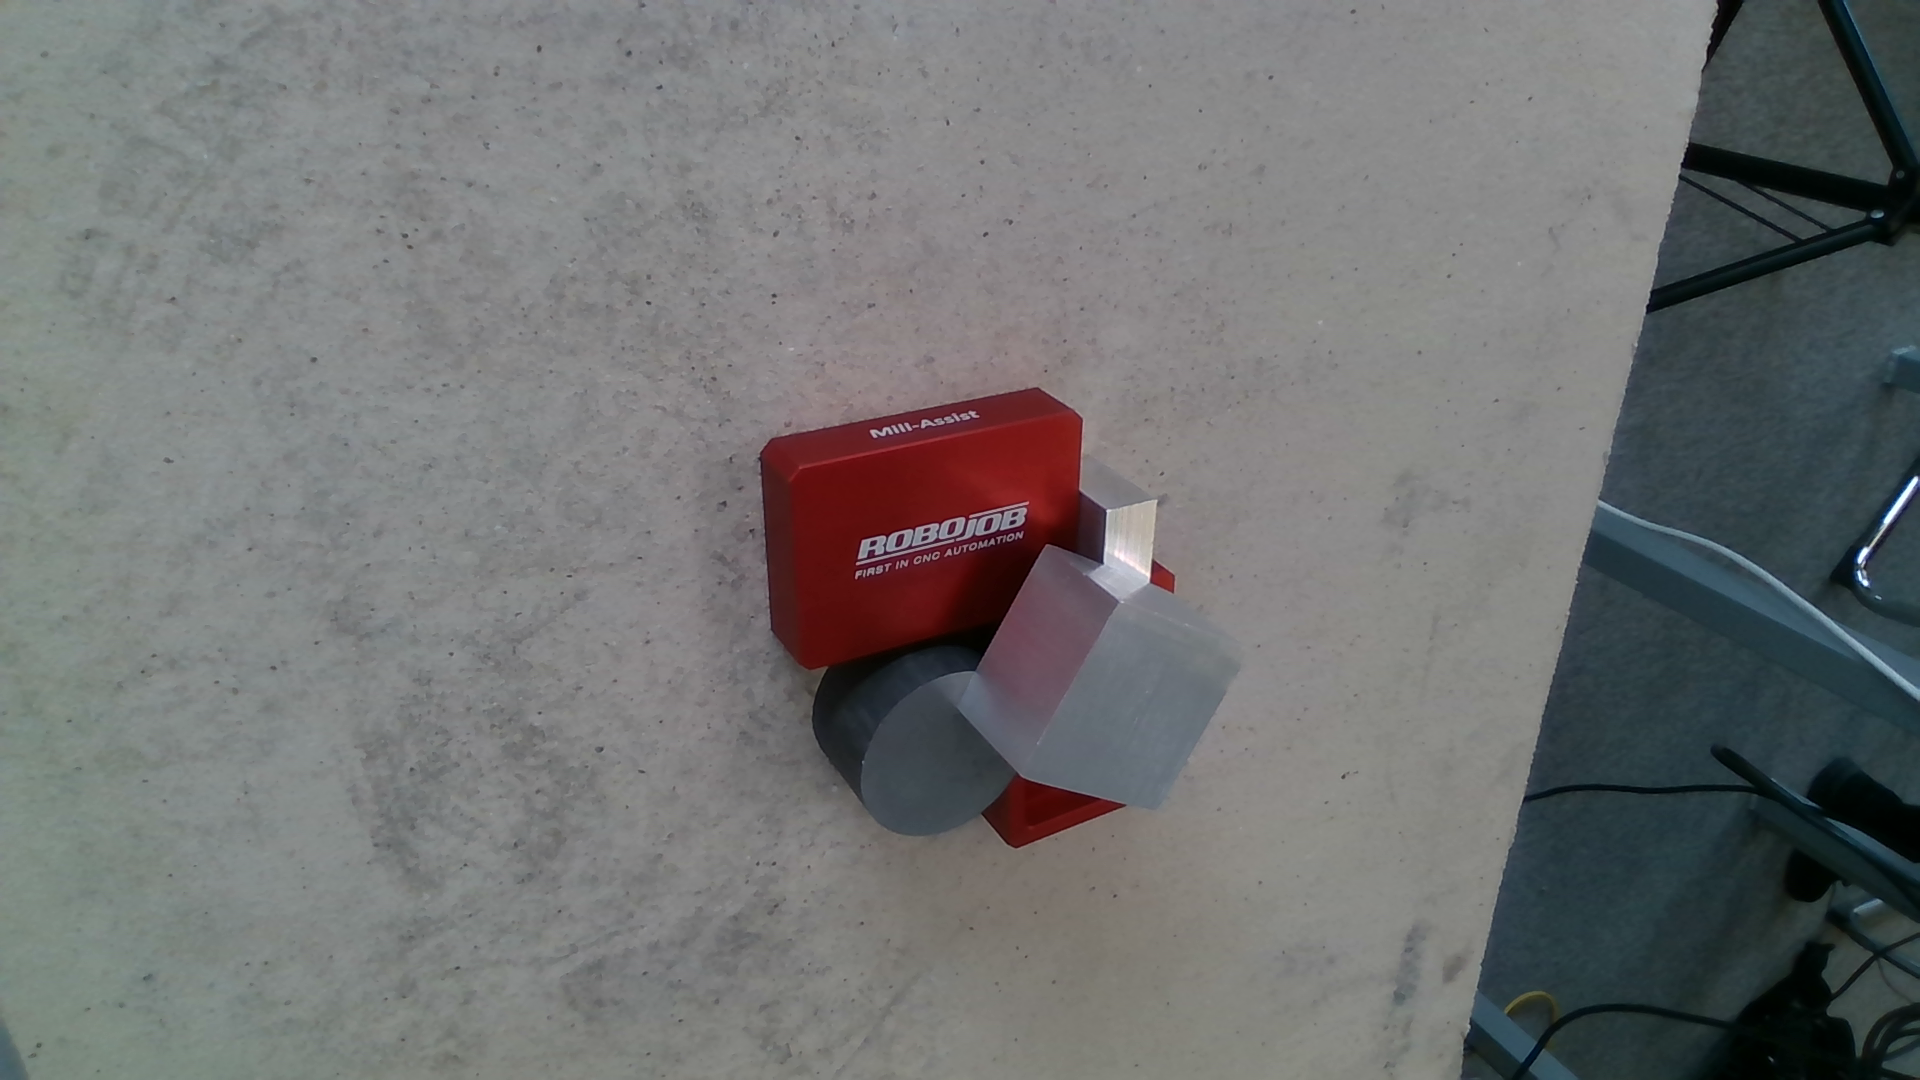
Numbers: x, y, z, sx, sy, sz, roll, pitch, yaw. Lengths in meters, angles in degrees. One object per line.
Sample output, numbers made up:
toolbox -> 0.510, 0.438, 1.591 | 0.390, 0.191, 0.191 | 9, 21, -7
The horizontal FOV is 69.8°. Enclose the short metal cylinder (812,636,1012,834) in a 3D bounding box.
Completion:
short metal cylinder -> -0.017, 0.080, 0.597 | 0.080, 0.050, 0.080 | -14, 121, -25

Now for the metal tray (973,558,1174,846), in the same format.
metal tray -> 0.053, 0.074, 0.651 | 0.090, 0.030, 0.130 | -16, 122, -24

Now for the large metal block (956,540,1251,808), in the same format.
large metal block -> 0.059, 0.056, 0.566 | 0.080, 0.050, 0.080 | 21, 103, -37

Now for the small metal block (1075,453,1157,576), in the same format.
small metal block -> 0.059, -0.004, 0.600 | 0.025, 0.050, 0.050 | -14, 121, -25

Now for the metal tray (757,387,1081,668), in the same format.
metal tray -> -0.015, -0.007, 0.566 | 0.130, 0.030, 0.090 | -14, 121, -25
